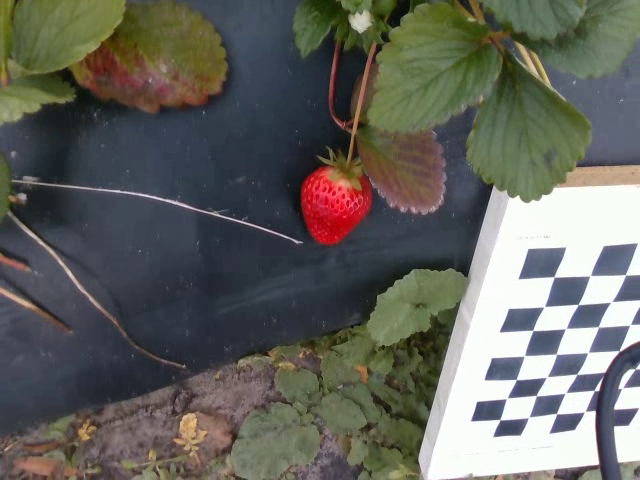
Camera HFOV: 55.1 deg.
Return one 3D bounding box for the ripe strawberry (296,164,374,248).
[{"bbox_3d":[0.004,-0.010,0.216,0.028,0.033,0.023,13,32,-13],"label":"ripe strawberry"}]
